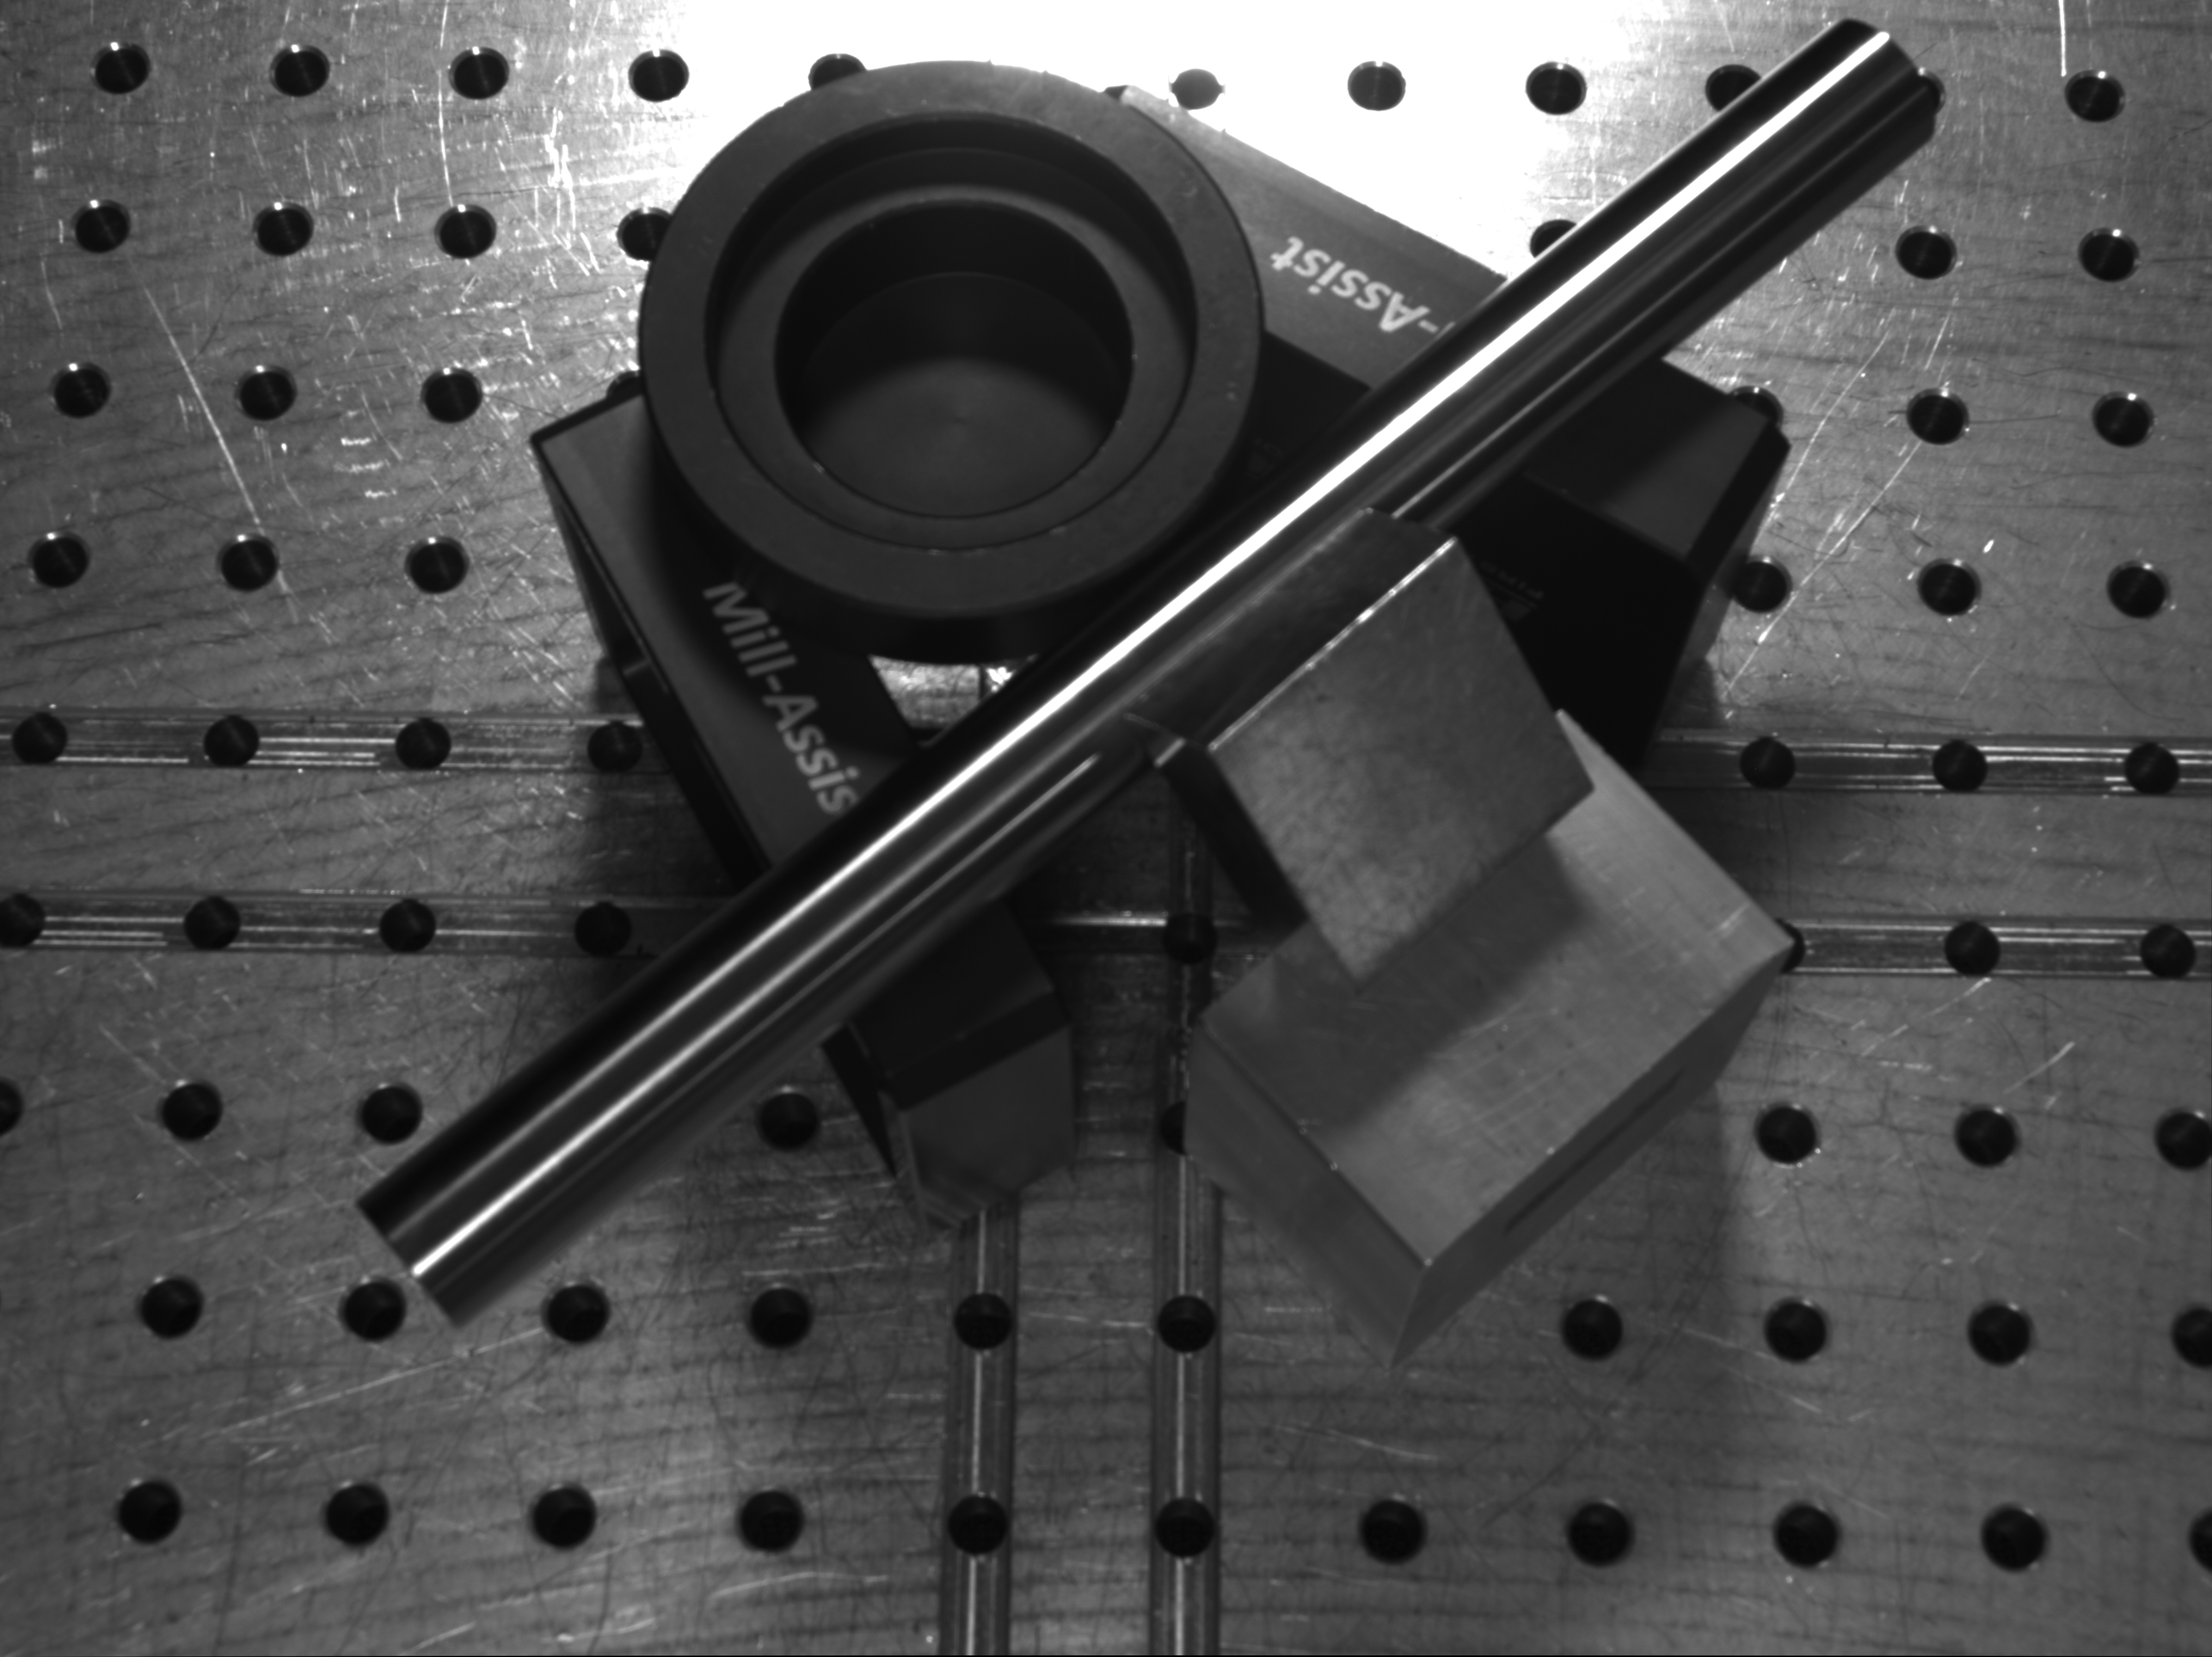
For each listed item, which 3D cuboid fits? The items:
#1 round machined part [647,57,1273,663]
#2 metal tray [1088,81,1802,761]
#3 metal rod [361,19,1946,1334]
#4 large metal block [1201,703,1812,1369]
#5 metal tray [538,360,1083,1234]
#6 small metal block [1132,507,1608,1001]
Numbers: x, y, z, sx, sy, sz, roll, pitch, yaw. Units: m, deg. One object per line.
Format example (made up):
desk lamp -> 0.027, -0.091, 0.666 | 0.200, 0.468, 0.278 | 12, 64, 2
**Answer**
round machined part -> -0.023, -0.071, 0.591 | 0.098, 0.042, 0.098 | 0, 70, 0
metal tray -> 0.050, -0.069, 0.637 | 0.130, 0.090, 0.030 | 30, 74, 10
metal rod -> 0.014, -0.029, 0.562 | 0.300, 0.025, 0.025 | -39, 74, -13
large metal block -> 0.063, 0.036, 0.601 | 0.080, 0.080, 0.050 | -39, 74, -13
metal tray -> -0.048, -0.004, 0.614 | 0.030, 0.090, 0.130 | -27, 72, -9
small metal block -> 0.040, -0.012, 0.551 | 0.050, 0.050, 0.025 | -41, 30, -14
